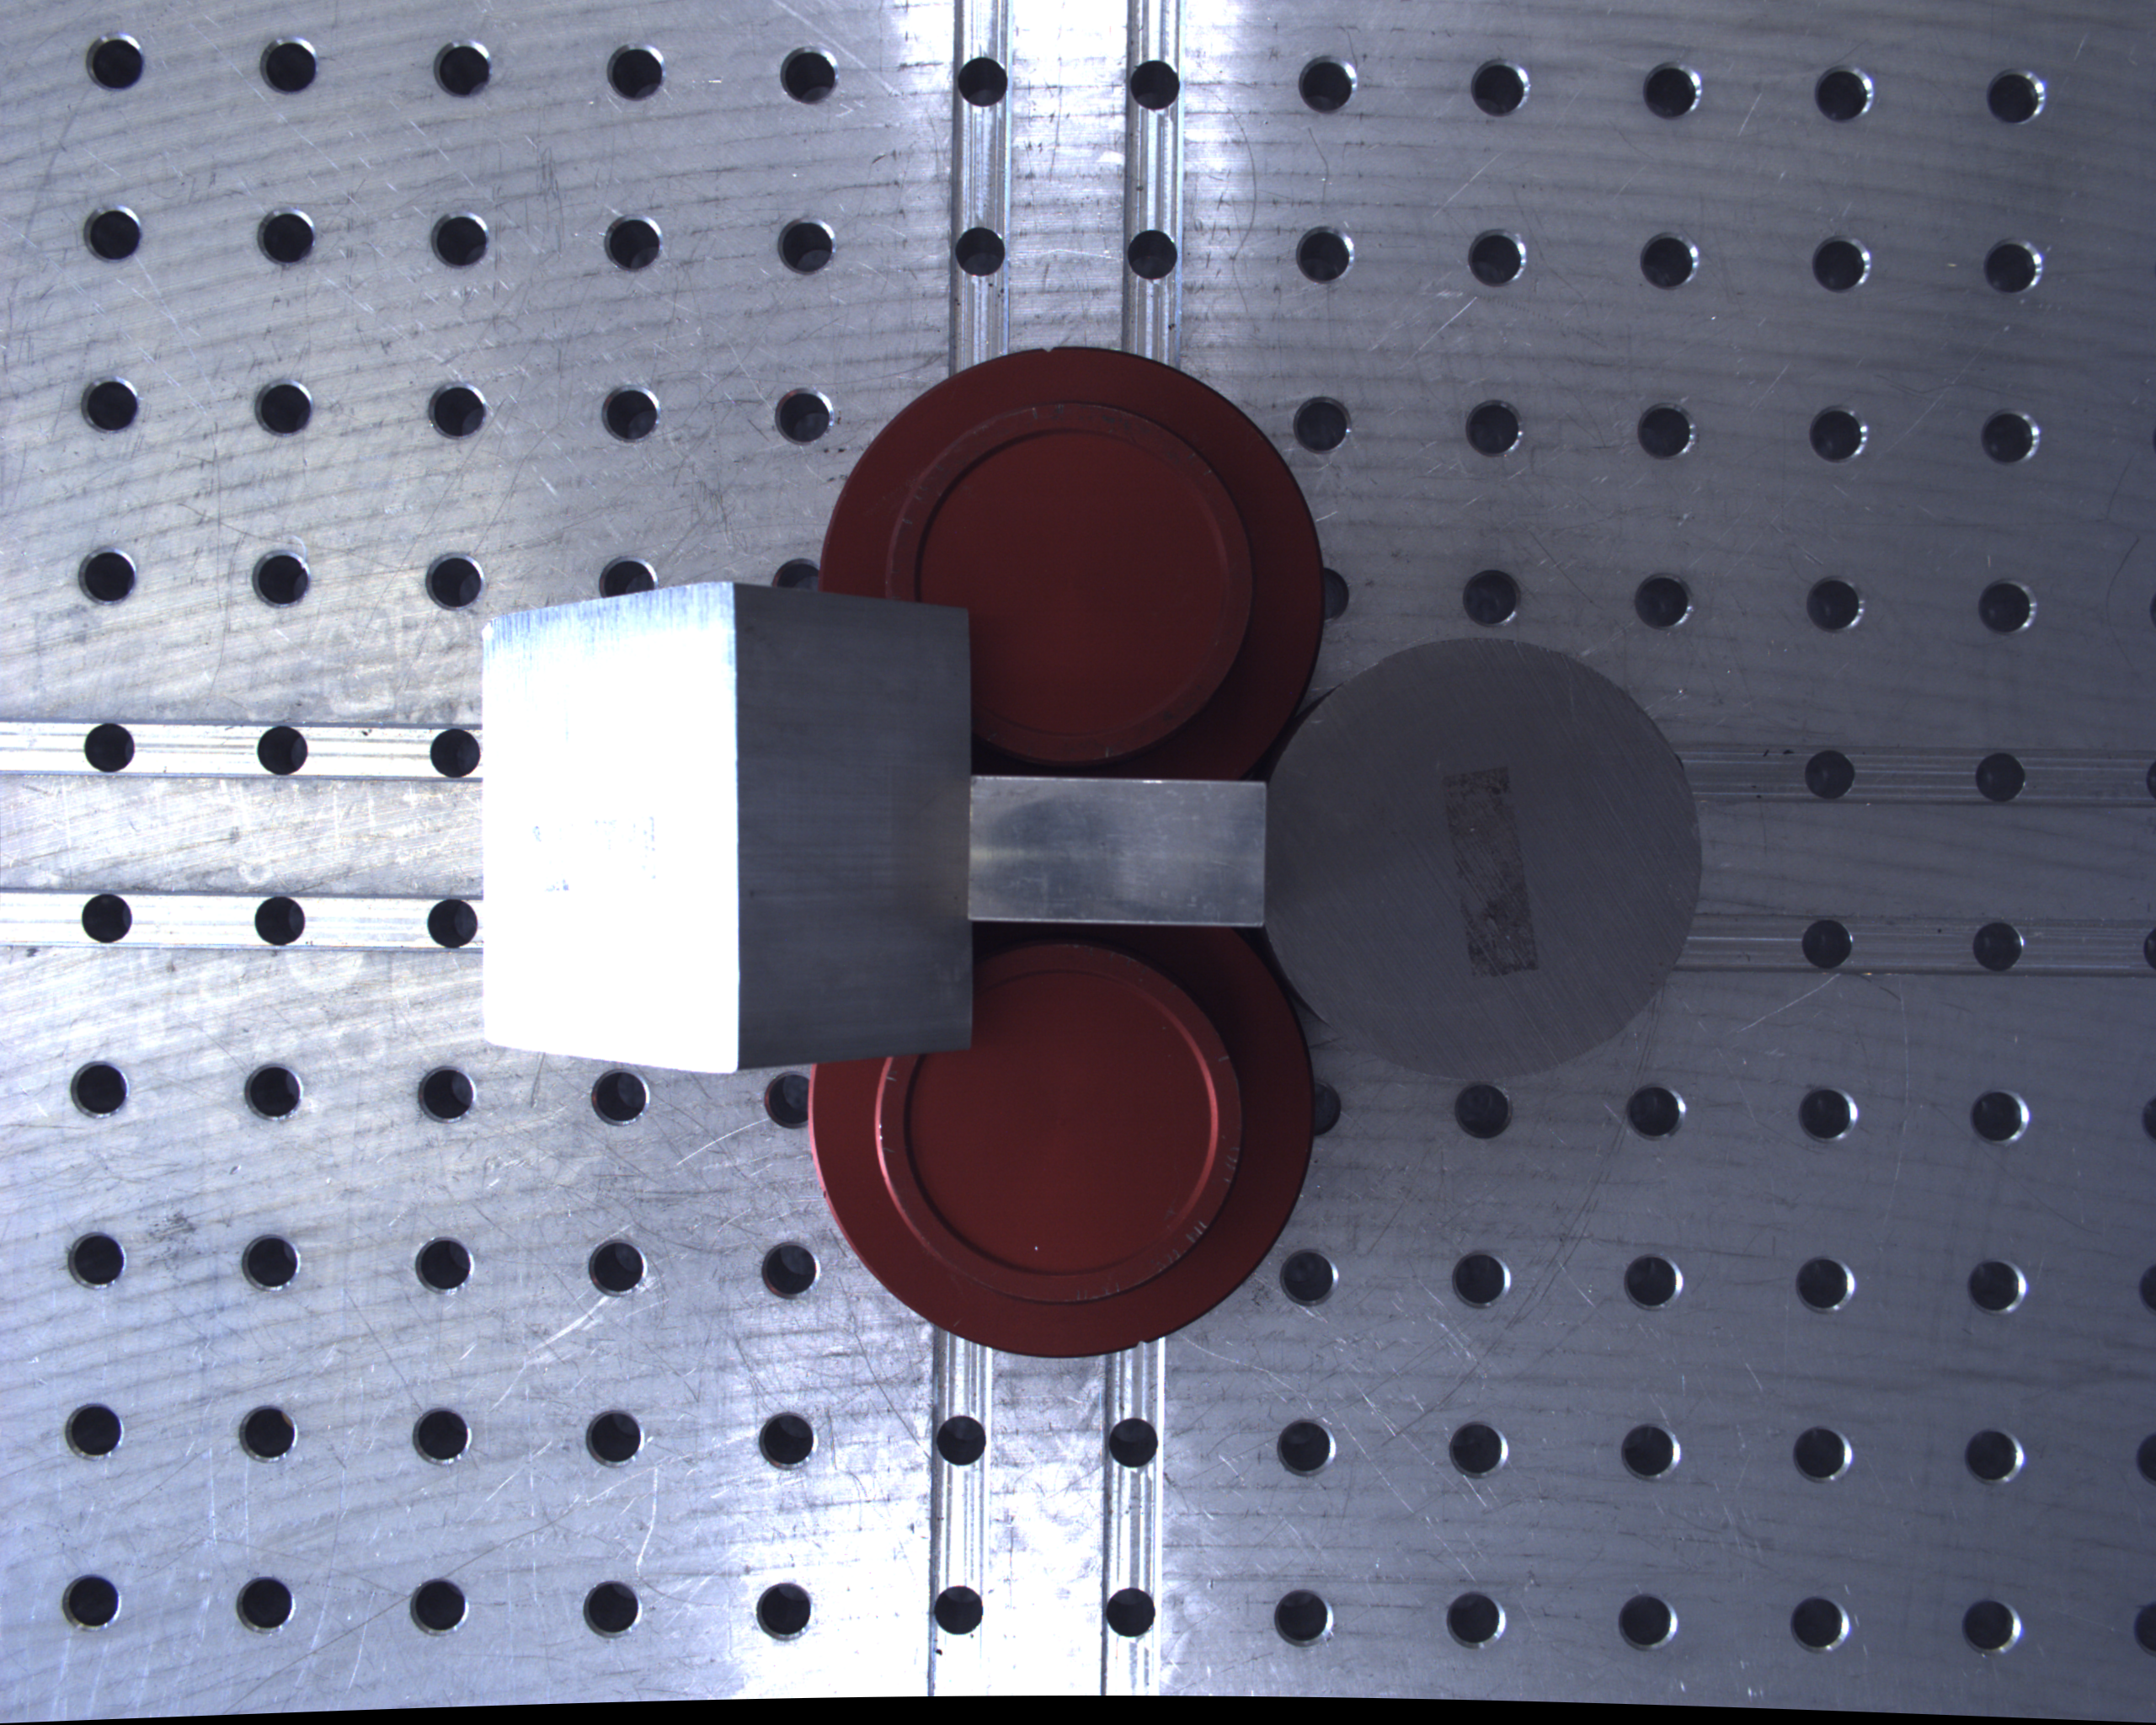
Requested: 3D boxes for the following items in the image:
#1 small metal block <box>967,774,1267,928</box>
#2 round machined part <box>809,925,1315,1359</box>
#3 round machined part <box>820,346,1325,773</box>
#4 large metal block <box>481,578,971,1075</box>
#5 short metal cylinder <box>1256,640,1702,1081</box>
[{"bbox_3d":[0.007,-0.002,0.379,0.050,0.050,0.025,1,90,0],"label":"small metal block"},{"bbox_3d":[-0.003,0.048,0.405,0.099,0.042,0.097,0,90,0],"label":"round machined part"},{"bbox_3d":[-0.001,-0.052,0.405,0.099,0.042,0.097,0,90,0],"label":"round machined part"},{"bbox_3d":[-0.065,-0.006,0.380,0.050,0.080,0.080,-1,90,-45],"label":"large metal block"},{"bbox_3d":[0.072,-0.001,0.400,0.081,0.050,0.080,0,90,0],"label":"short metal cylinder"}]
